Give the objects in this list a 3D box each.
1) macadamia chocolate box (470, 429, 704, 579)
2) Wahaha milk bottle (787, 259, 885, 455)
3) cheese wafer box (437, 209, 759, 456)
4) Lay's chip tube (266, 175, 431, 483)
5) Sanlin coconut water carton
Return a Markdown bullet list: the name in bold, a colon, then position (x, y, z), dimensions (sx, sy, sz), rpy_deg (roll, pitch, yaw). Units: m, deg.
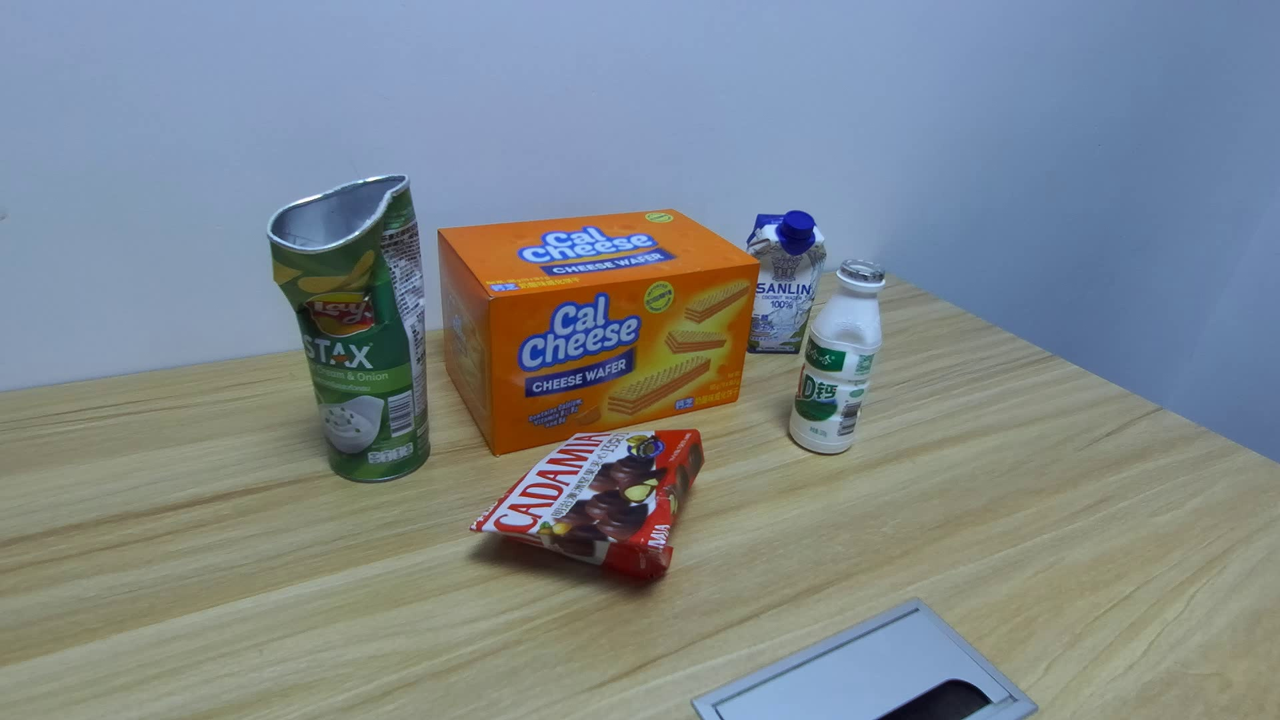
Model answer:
- **macadamia chocolate box**: position (-0.026, 0.083, 0.443), dimensions (0.112, 0.056, 0.126), rpy_deg (13, 29, 12)
- **Wahaha milk bottle**: position (0.148, 0.004, 0.529), dimensions (0.053, 0.136, 0.053), rpy_deg (6, 27, -3)
- **cheese wafer box**: position (-0.037, -0.034, 0.582), dimensions (0.223, 0.129, 0.147), rpy_deg (-10, 32, -26)
- **Lay's chip tube**: position (-0.176, -0.012, 0.448), dimensions (0.079, 0.199, 0.071), rpy_deg (-4, 38, -14)
- **Sanlin coconut water carton**: position (0.132, -0.076, 0.668), dimensions (0.078, 0.142, 0.057), rpy_deg (0, 34, -8)
